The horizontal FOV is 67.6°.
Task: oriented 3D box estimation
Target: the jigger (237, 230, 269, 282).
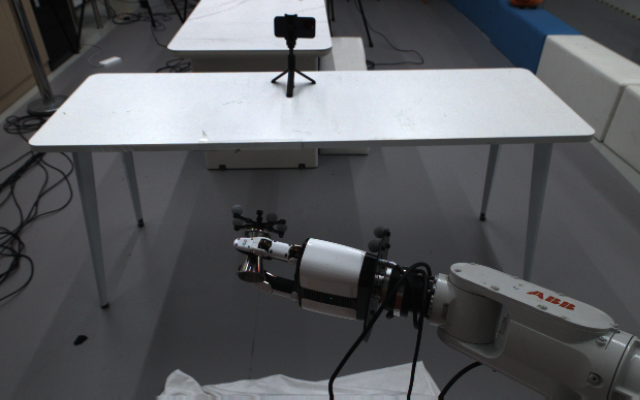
[{"bbox_3d":[-0.097,0.080,0.709,0.043,0.043,0.071,4,60,2],"label":"jigger"}]
